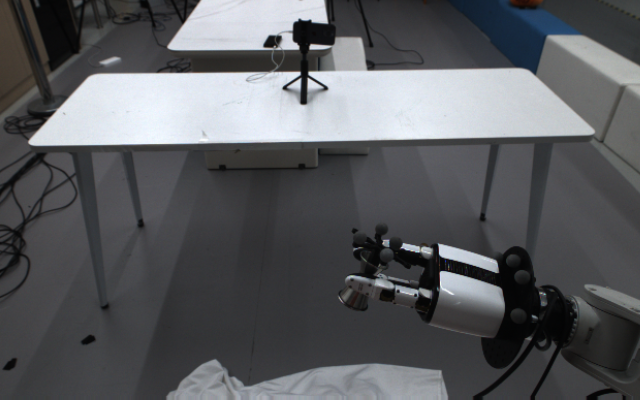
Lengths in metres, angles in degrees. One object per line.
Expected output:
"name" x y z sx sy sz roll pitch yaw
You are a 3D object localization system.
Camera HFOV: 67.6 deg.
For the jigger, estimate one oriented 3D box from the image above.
"jigger" 0.056 0.104 0.631 0.043 0.071 0.043 23 19 -8
